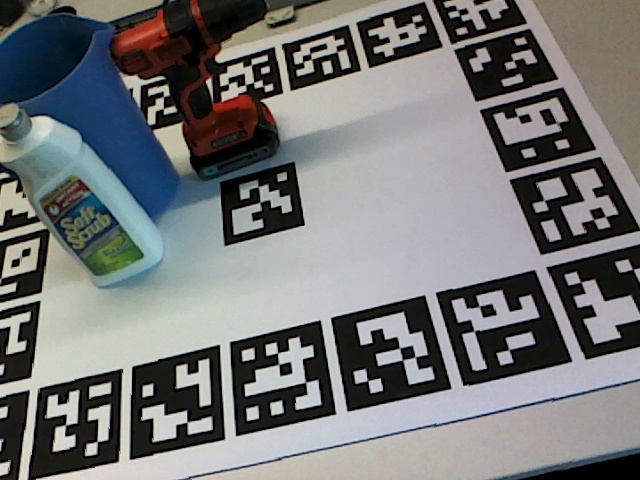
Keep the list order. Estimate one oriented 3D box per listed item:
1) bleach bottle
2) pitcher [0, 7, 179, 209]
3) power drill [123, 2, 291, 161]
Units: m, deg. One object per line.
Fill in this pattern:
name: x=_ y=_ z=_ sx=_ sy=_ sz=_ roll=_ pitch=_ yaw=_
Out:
bleach bottle: x=-0.275 y=-0.055 z=0.658 sx=0.103 sy=0.249 sz=0.068 roll=-20 pitch=56 yaw=4
pitcher: x=-0.273 y=-0.131 z=0.729 sx=0.188 sy=0.241 sz=0.134 roll=-36 pitch=58 yaw=-7
power drill: x=-0.112 y=-0.181 z=0.723 sx=0.184 sy=0.186 sz=0.057 roll=-15 pitch=59 yaw=0
